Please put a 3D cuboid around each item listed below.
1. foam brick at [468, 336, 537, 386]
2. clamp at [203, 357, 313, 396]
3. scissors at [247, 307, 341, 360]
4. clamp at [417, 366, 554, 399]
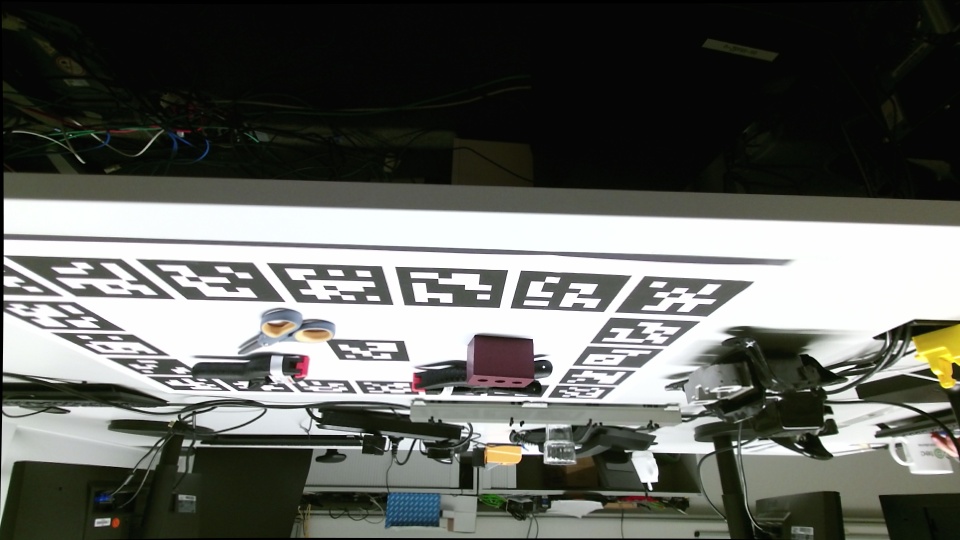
[{"bbox_3d":[0.028,0.118,0.698,0.078,0.051,0.053,1,151,-11],"label":"foam brick"},{"bbox_3d":[-0.321,0.161,0.806,0.165,0.036,0.122,-13,142,23],"label":"clamp"},{"bbox_3d":[-0.253,0.093,0.680,0.088,0.016,0.203,30,143,-31],"label":"scissors"},{"bbox_3d":[0.006,0.177,0.821,0.203,0.036,0.165,0,155,2],"label":"clamp"}]
